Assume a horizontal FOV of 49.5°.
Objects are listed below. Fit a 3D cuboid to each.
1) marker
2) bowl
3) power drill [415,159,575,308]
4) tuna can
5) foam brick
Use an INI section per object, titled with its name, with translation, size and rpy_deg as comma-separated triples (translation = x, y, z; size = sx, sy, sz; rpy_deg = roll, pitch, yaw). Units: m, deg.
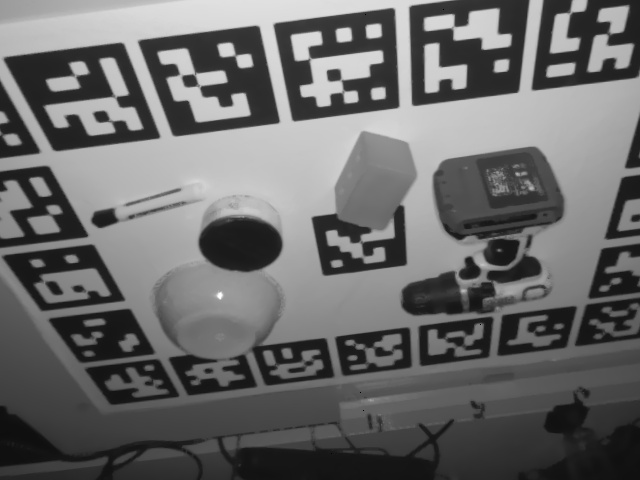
[marker]
translation = -0.167, -0.033, 0.694
size = 0.120, 0.020, 0.019
rpy_deg = -14, 132, 10
[bowl]
translation = -0.106, 0.093, 0.815
size = 0.162, 0.055, 0.160
rpy_deg = -6, 141, -4
[power drill]
translation = 0.190, 0.004, 0.742
size = 0.184, 0.058, 0.186
rpy_deg = -6, 137, 6
[tuna can]
translation = -0.075, -0.003, 0.722
size = 0.086, 0.034, 0.085
rpy_deg = -1, 135, 0
[foam brick]
translation = 0.059, -0.063, 0.672
size = 0.052, 0.053, 0.077
rpy_deg = 11, 132, -12
